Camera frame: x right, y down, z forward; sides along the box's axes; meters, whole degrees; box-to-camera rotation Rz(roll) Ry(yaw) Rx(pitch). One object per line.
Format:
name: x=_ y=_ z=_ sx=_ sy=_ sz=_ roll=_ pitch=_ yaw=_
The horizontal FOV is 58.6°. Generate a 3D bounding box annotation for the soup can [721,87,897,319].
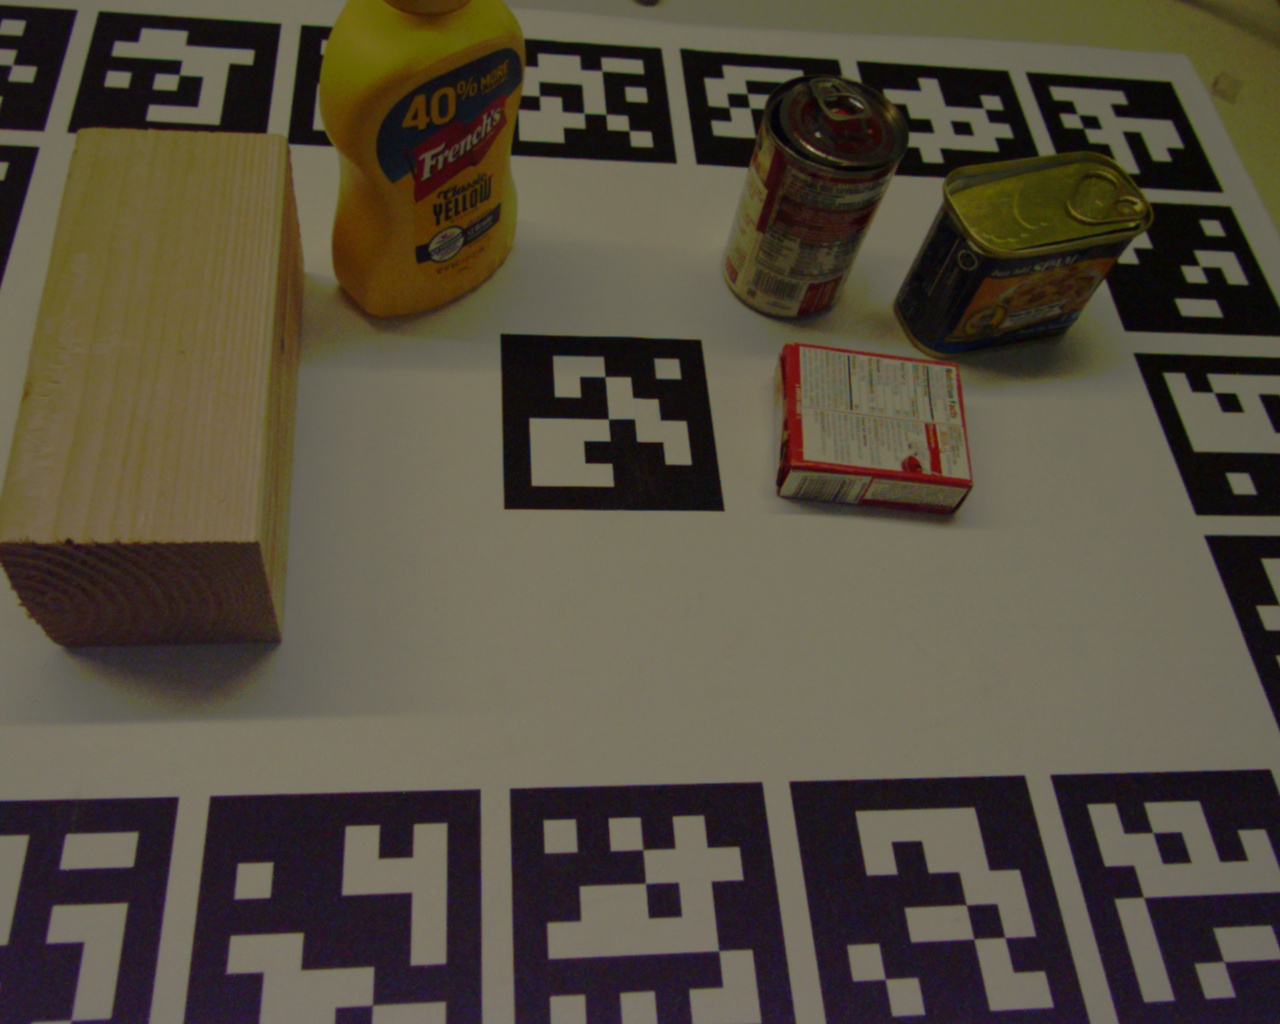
soup can: x=0.084 y=-0.157 z=0.594 sx=0.067 sy=0.102 sz=0.068 roll=3 pitch=61 yaw=-7

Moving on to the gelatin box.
gelatin box: x=0.107 y=-0.036 z=0.571 sx=0.089 sy=0.030 sz=0.073 roll=8 pitch=60 yaw=-1

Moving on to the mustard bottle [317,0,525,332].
mustard bottle: x=-0.102 y=-0.170 z=0.537 sx=0.095 sy=0.191 sz=0.059 roll=-22 pitch=65 yaw=-23

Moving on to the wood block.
wood block: x=-0.198 y=-0.057 z=0.508 sx=0.090 sy=0.090 sz=0.207 roll=2 pitch=55 yaw=-10

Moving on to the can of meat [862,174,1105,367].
can of meat: x=0.179 y=-0.127 z=0.611 sx=0.101 sy=0.084 sz=0.058 roll=-11 pitch=62 yaw=-18
